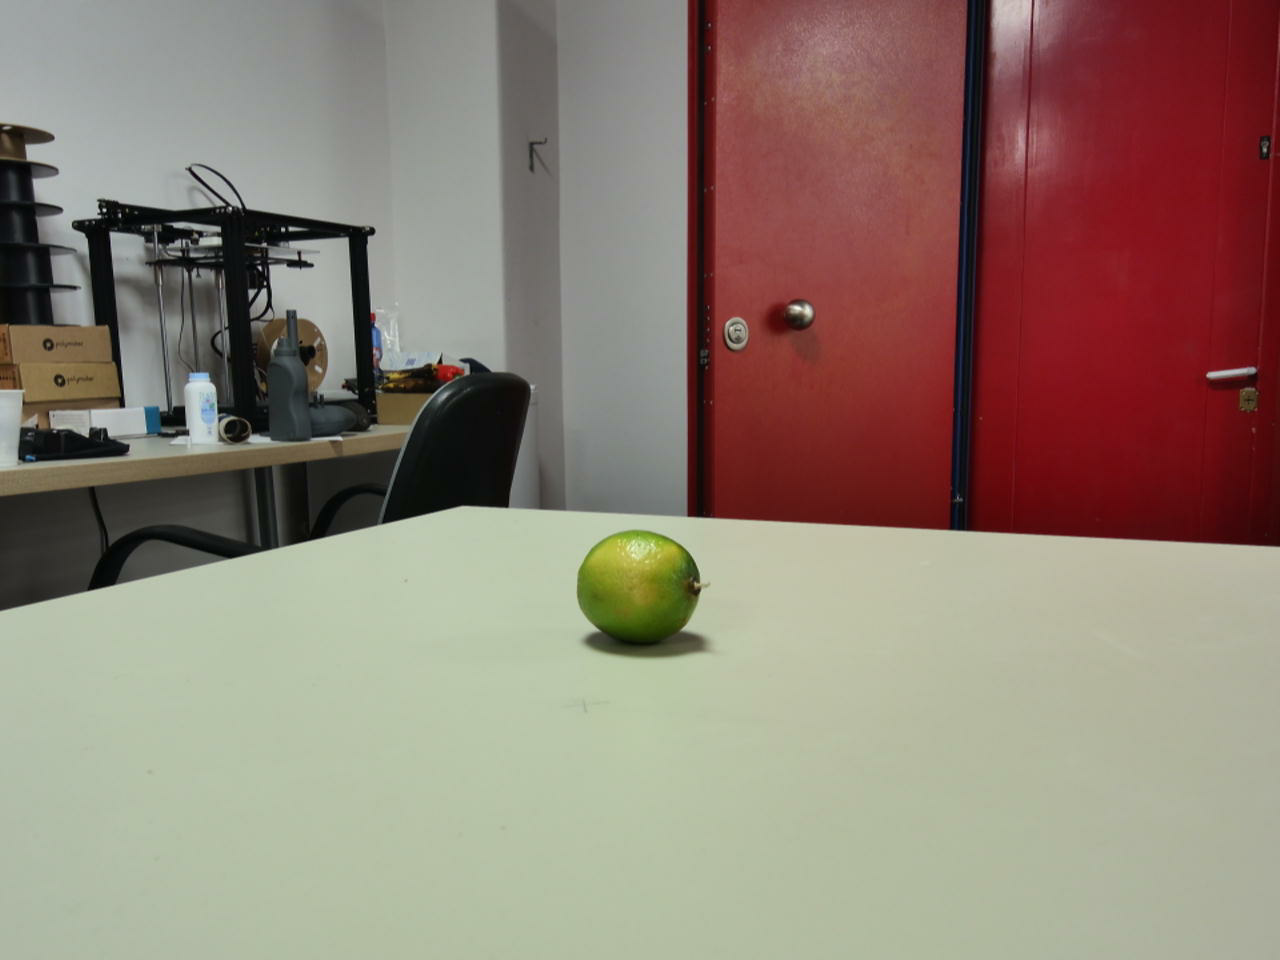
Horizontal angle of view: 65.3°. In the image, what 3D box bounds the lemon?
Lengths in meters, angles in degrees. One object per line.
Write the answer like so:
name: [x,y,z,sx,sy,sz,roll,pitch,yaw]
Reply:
lemon: [-0.001,0.048,0.458,0.054,0.050,0.055,-2,4,-15]
